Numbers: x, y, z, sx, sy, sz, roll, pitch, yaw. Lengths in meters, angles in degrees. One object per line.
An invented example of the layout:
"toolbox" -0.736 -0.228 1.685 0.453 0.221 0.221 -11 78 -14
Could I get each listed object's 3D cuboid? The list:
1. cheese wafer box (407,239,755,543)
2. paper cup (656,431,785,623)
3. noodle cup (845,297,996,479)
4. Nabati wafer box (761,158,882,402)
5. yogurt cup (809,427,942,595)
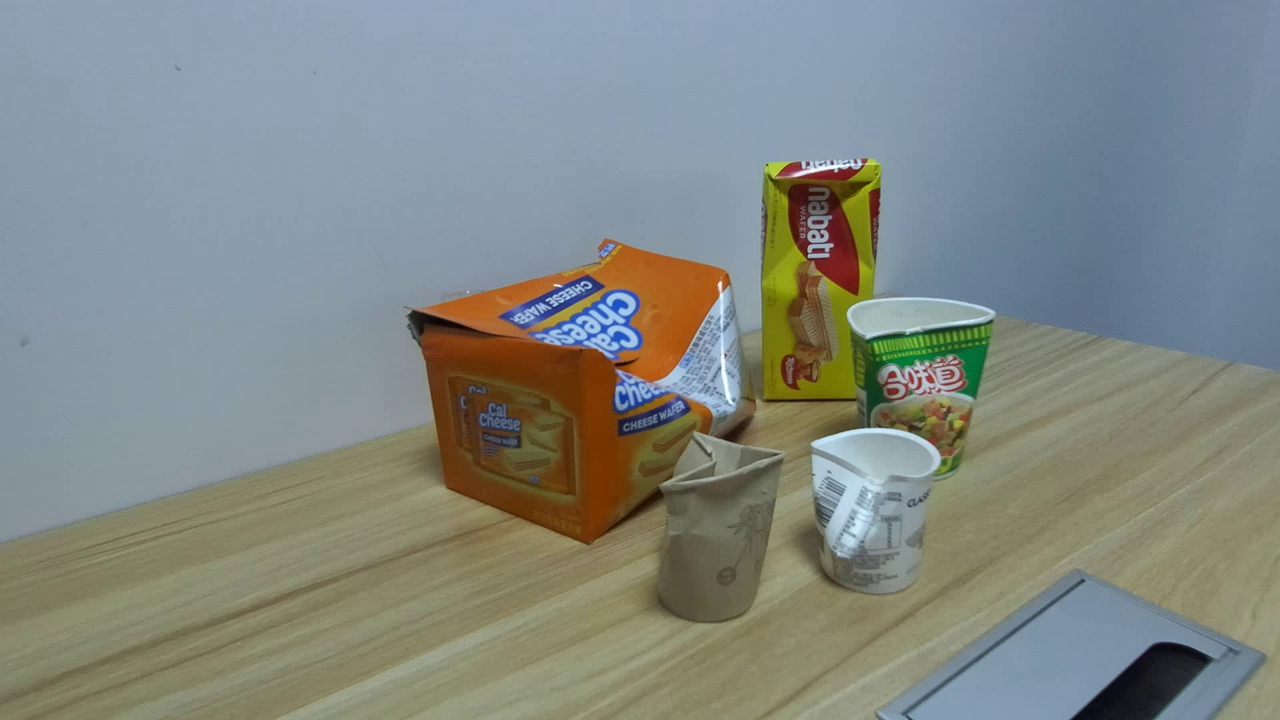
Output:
"cheese wafer box" -0.019 0.005 0.524 0.190 0.145 0.220 10 24 36
"paper cup" 0.033 0.086 0.372 0.067 0.083 0.058 -15 21 -29
"noodle cup" 0.191 0.019 0.492 0.093 0.109 0.087 -1 20 10
"Nabati wafer box" 0.150 -0.064 0.596 0.096 0.203 0.042 0 17 6
"yogurt cup" 0.127 0.081 0.384 0.067 0.070 0.067 -4 18 2
